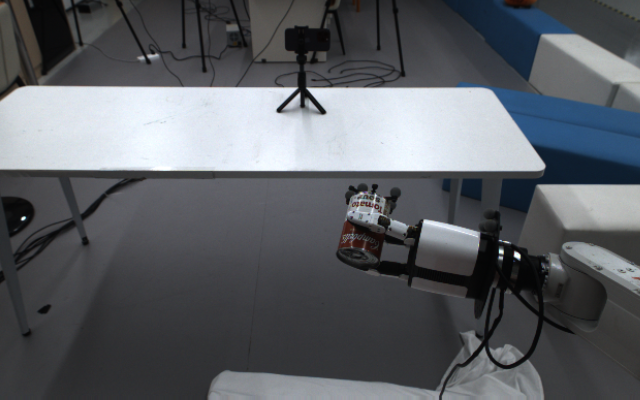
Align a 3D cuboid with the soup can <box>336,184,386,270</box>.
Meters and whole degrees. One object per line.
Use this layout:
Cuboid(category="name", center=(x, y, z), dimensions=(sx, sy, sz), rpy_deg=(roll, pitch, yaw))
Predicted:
Cuboid(category="soup can", center=(0.070, 0.045, 0.749), dimensions=(0.067, 0.067, 0.101), rpy_deg=(9, 61, 10))
